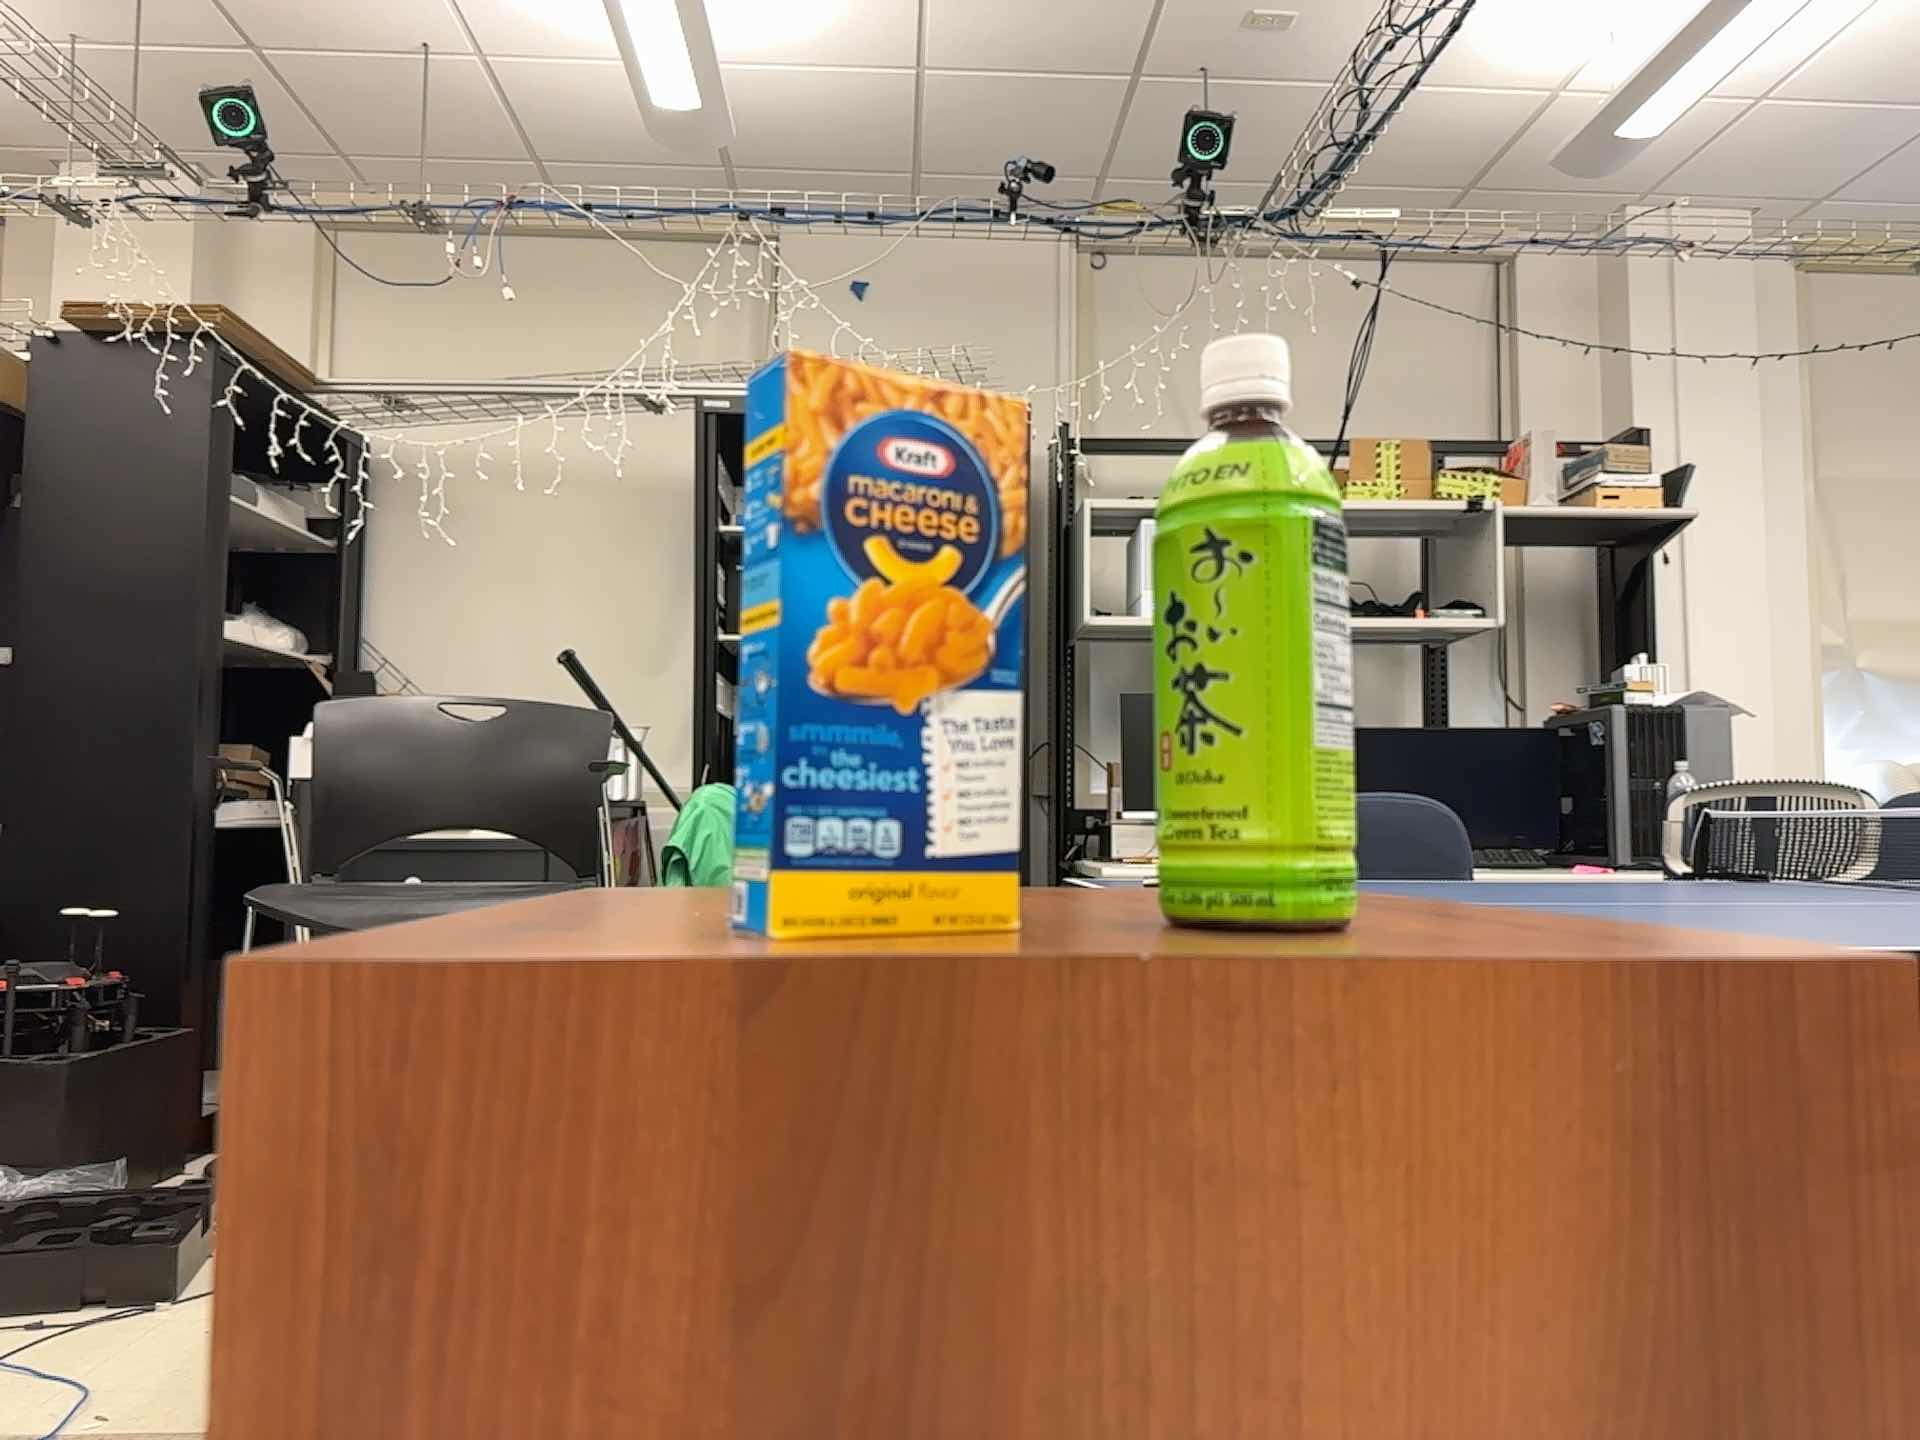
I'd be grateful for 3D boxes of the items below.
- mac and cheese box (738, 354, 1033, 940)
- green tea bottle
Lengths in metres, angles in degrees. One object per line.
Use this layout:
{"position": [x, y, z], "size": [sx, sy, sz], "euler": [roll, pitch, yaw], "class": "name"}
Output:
{"position": [-0.023, -0.021, 0.452], "size": [0.088, 0.181, 0.035], "euler": [4, -7, -27], "class": "mac and cheese box"}
{"position": [0.107, -0.032, 0.486], "size": [0.073, 0.212, 0.073], "euler": [3, -8, 0], "class": "green tea bottle"}
